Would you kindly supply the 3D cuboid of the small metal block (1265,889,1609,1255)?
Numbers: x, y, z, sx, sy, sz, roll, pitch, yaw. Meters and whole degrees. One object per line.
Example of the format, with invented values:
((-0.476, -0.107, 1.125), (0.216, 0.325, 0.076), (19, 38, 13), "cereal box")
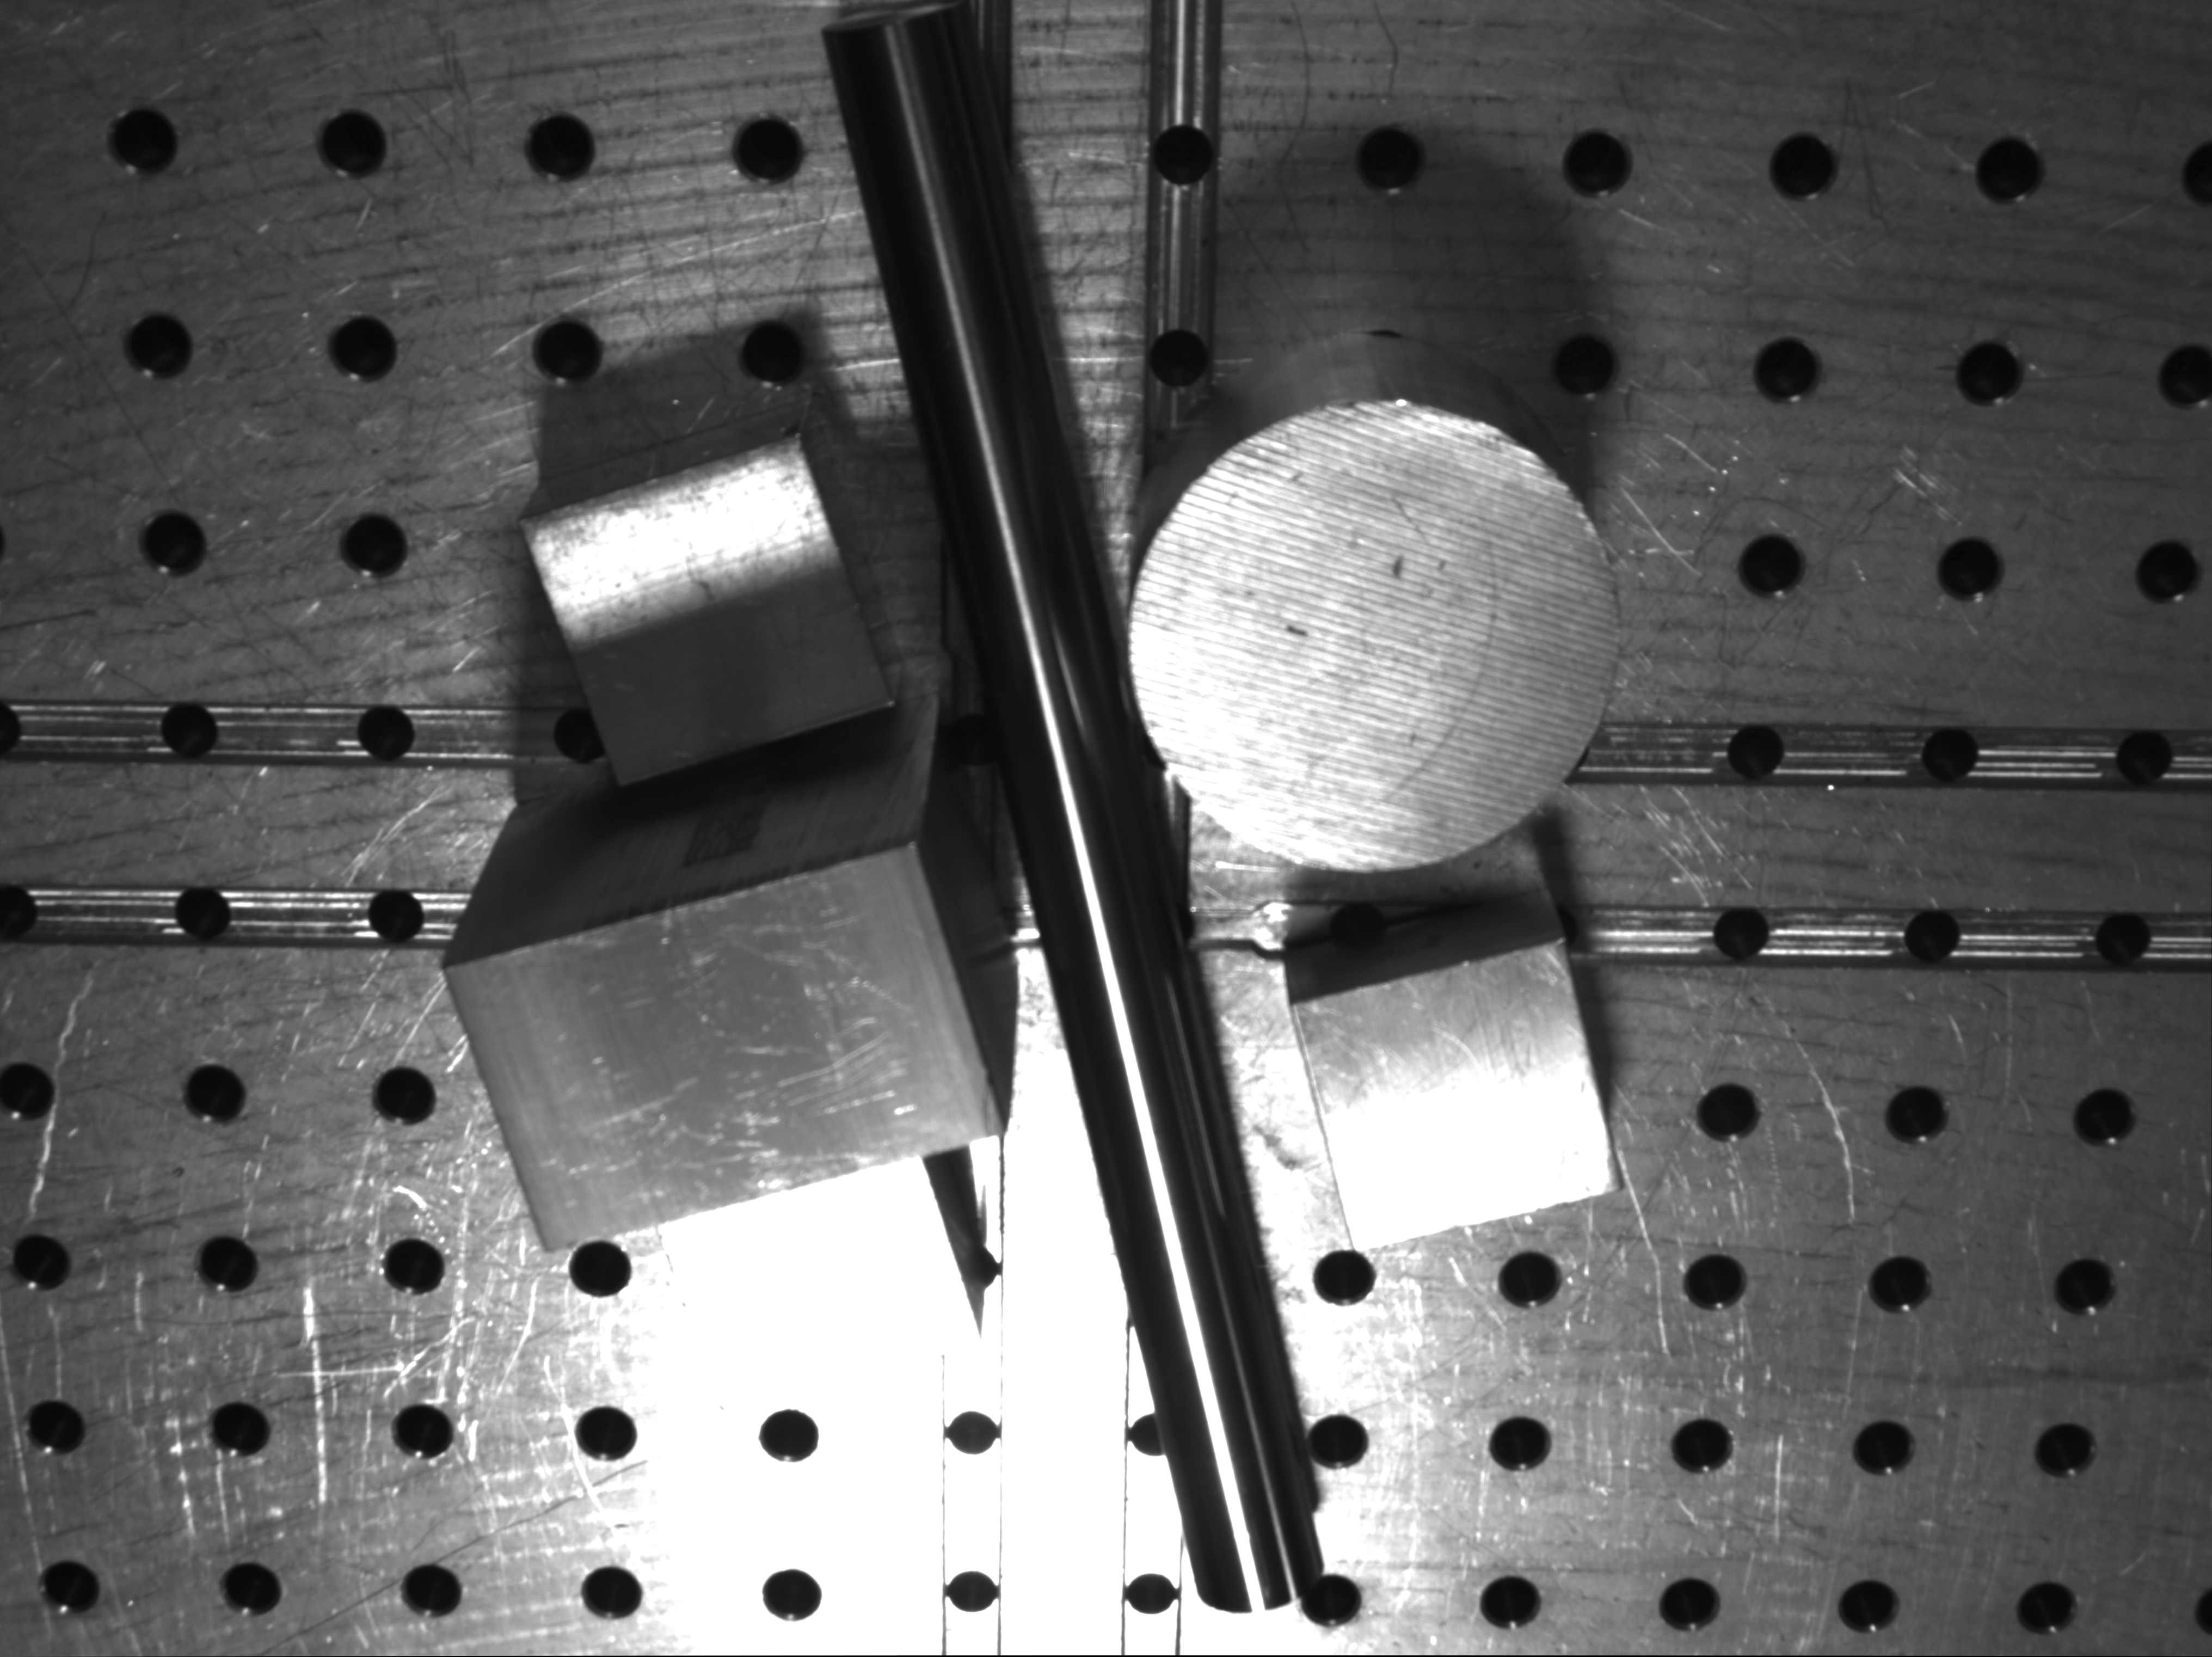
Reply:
((0.060, 0.044, 0.662), (0.050, 0.025, 0.050), (-14, 110, 4), "small metal block")

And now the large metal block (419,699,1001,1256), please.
((-0.064, 0.023, 0.623), (0.080, 0.080, 0.050), (-15, 109, 5), "large metal block")

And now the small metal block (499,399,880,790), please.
((-0.070, -0.040, 0.630), (0.050, 0.025, 0.050), (-16, 109, 5), "small metal block")

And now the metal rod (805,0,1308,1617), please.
((-0.005, 0.005, 0.647), (0.025, 0.025, 0.300), (-12, 110, 4), "metal rod")

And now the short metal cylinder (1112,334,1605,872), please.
((0.041, -0.039, 0.618), (0.080, 0.050, 0.080), (0, 110, -1), "short metal cylinder")

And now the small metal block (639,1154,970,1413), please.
((-0.056, 0.074, 0.672), (0.050, 0.025, 0.050), (-15, 109, 5), "small metal block")
